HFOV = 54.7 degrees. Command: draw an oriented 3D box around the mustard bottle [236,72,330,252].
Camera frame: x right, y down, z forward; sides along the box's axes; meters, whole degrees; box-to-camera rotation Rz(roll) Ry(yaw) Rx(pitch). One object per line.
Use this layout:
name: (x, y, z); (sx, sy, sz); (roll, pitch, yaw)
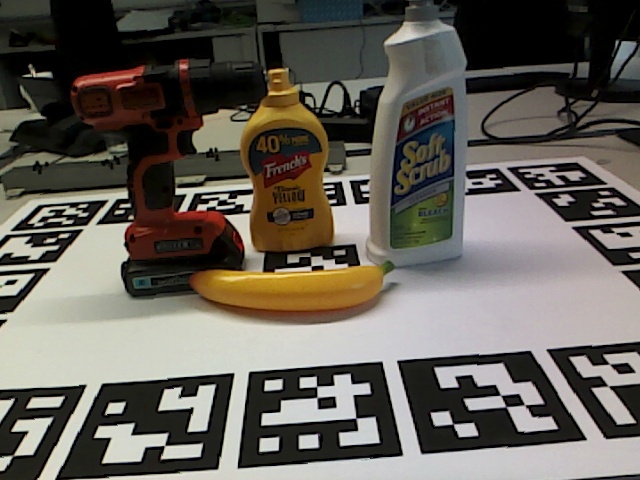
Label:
mustard bottle: (-0.040, -0.083, 0.669); (0.096, 0.191, 0.058); (-3, 24, 0)

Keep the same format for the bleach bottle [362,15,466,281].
bleach bottle: (0.089, -0.087, 0.607); (0.102, 0.250, 0.068); (-7, 26, -7)

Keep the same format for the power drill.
power drill: (-0.141, -0.068, 0.607); (0.184, 0.186, 0.057); (-3, 18, -4)

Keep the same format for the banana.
banana: (-0.027, 0.044, 0.570); (0.197, 0.039, 0.074); (-4, 29, 4)
